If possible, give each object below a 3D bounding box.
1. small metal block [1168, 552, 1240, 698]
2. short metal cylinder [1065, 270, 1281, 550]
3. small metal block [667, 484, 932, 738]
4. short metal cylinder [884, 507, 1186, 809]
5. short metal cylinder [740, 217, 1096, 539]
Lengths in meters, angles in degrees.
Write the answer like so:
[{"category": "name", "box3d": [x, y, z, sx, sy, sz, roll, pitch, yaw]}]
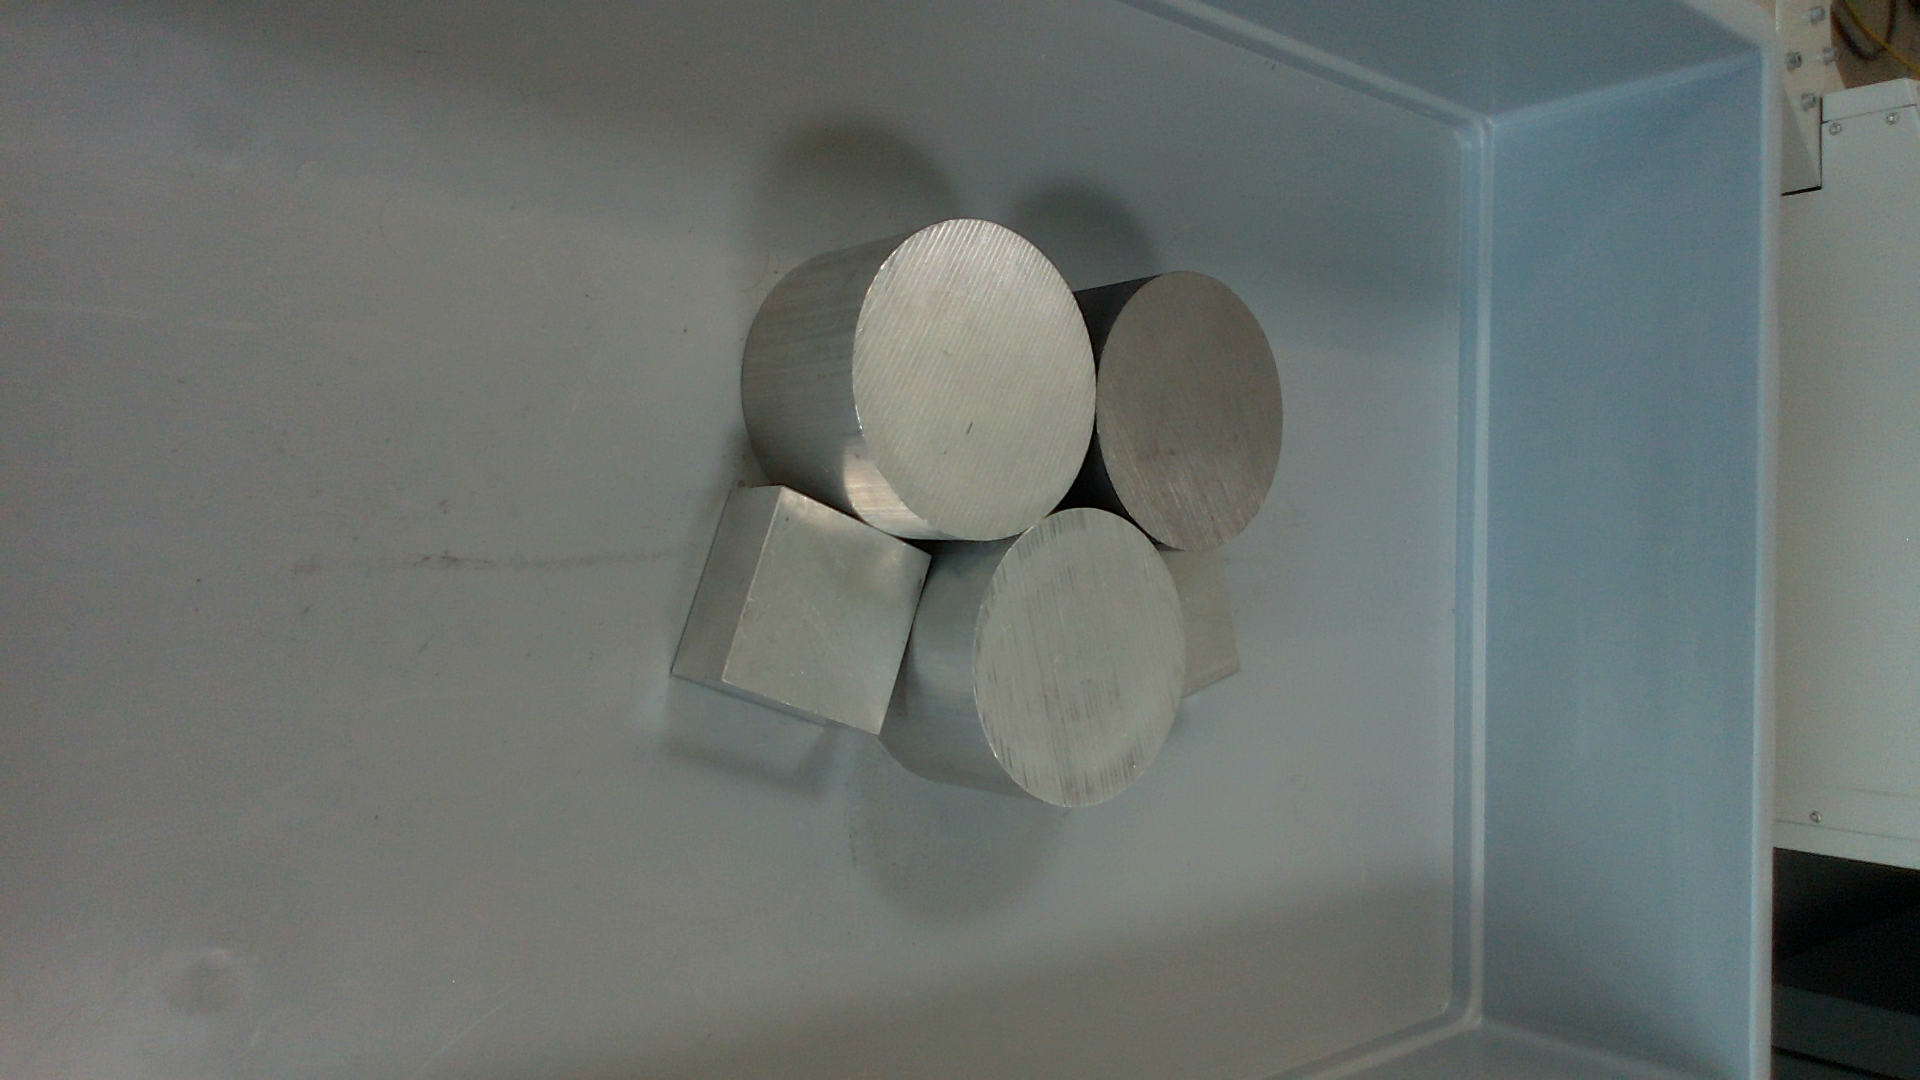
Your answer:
[{"category": "small metal block", "box3d": [0.060, 0.025, 0.438, 0.050, 0.025, 0.050, -18, 102, -38]}, {"category": "short metal cylinder", "box3d": [0.052, -0.037, 0.414, 0.080, 0.050, 0.080, 0, 90, -40]}, {"category": "small metal block", "box3d": [-0.040, 0.019, 0.354, 0.050, 0.025, 0.050, 26, 74, -37]}, {"category": "short metal cylinder", "box3d": [0.018, 0.031, 0.386, 0.080, 0.050, 0.080, 0, 90, -40]}, {"category": "short metal cylinder", "box3d": [-0.010, -0.040, 0.362, 0.080, 0.050, 0.080, 0, 90, -40]}]
